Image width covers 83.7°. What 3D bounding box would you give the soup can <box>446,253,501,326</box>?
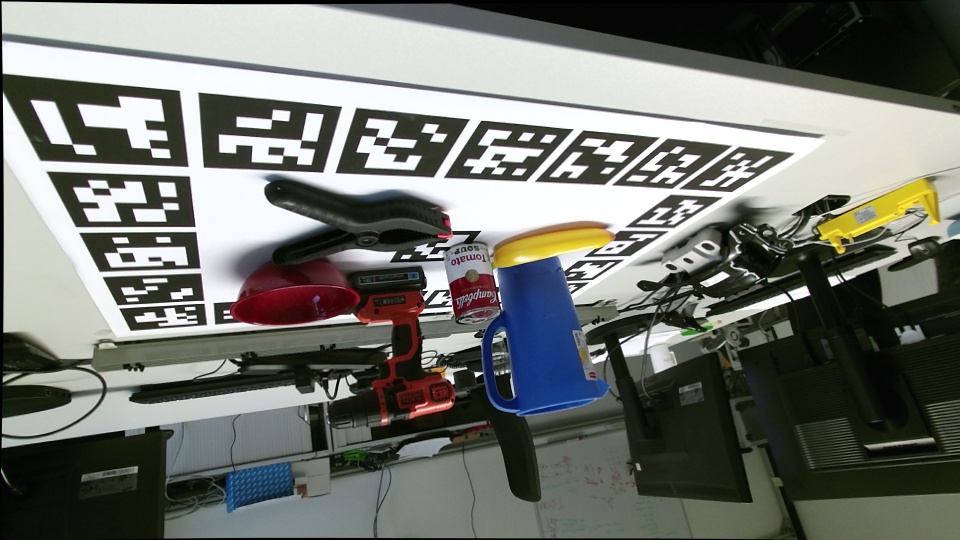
[{"bbox_3d":[-0.008,0.033,0.770,0.068,0.101,0.068,-10,166,-2],"label":"soup can"}]

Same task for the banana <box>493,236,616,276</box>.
[{"bbox_3d":[0.115,-0.024,0.796,0.198,0.038,0.074,-12,167,-2],"label":"banana"}]

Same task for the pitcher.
[{"bbox_3d":[0.092,0.118,0.849,0.189,0.241,0.133,-13,162,-4],"label":"pitcher"}]

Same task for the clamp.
[{"bbox_3d":[-0.118,-0.032,0.607,0.203,0.036,0.165,-4,152,-24],"label":"clamp"}]

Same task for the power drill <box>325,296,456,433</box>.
[{"bbox_3d":[-0.138,0.136,0.774,0.185,0.186,0.057,-5,157,-22],"label":"power drill"}]

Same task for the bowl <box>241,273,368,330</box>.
[{"bbox_3d":[-0.232,0.041,0.708,0.162,0.055,0.162,-13,157,-5],"label":"bowl"}]
